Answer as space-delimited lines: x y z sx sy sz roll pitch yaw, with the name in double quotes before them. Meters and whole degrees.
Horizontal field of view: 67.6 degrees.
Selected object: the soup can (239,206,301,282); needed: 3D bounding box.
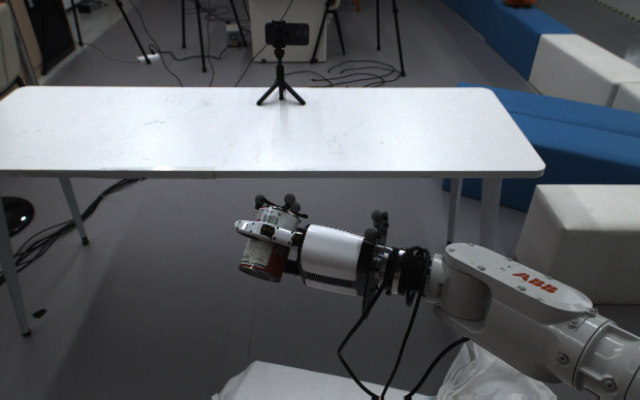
"soup can" -0.077 0.067 0.738 0.067 0.067 0.101 12 71 14
